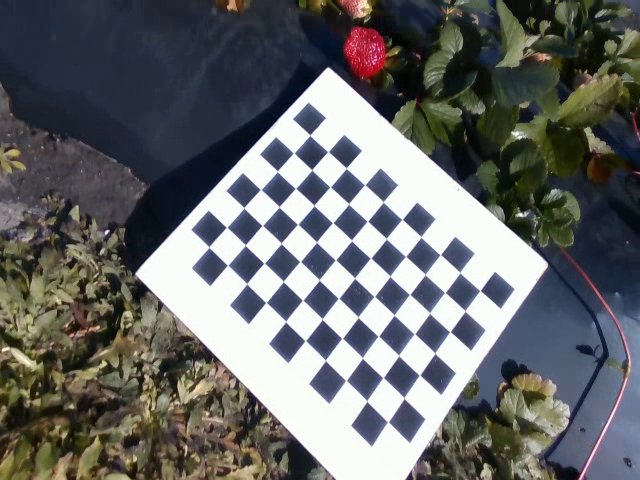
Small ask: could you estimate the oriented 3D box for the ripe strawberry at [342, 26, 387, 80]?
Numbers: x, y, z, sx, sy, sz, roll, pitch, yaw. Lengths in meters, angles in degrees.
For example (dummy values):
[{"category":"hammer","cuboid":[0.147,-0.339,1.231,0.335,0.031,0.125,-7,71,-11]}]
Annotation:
[{"category":"ripe strawberry","cuboid":[0.049,-0.185,0.521,0.058,0.066,0.061,-7,-7,22]}]
